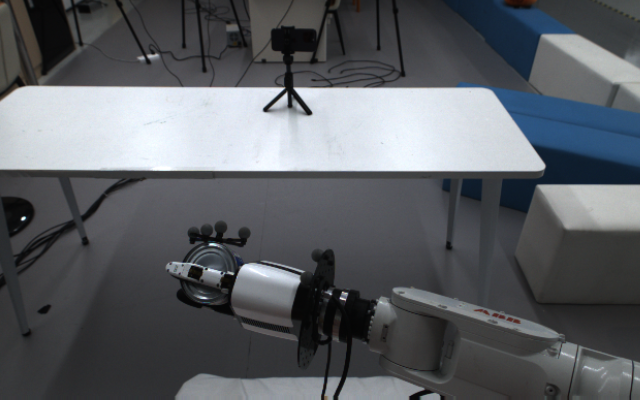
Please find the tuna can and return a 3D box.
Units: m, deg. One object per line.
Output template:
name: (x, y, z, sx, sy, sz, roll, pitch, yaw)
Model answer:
tuna can: (-0.148, 0.103, 0.674, 0.085, 0.034, 0.085, -5, 72, 14)
